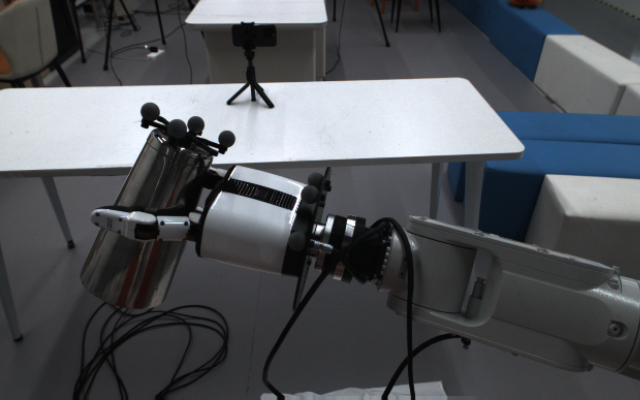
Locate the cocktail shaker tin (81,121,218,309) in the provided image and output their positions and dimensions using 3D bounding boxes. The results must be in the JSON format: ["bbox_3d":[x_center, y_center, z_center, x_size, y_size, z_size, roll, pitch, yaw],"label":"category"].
[{"bbox_3d":[-0.172,0.016,0.505,0.093,0.170,0.093,24,12,-6],"label":"cocktail shaker tin"}]
